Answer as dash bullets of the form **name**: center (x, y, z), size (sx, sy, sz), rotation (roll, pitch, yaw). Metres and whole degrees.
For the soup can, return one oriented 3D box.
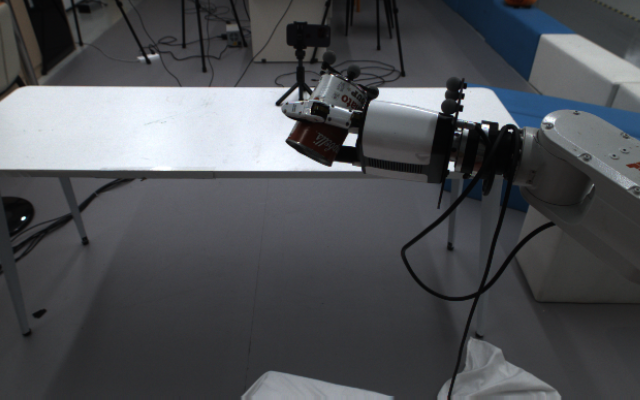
- **soup can**: center (0.009, -0.104, 0.622), size (0.067, 0.101, 0.067), rotation (29, -2, 1)
